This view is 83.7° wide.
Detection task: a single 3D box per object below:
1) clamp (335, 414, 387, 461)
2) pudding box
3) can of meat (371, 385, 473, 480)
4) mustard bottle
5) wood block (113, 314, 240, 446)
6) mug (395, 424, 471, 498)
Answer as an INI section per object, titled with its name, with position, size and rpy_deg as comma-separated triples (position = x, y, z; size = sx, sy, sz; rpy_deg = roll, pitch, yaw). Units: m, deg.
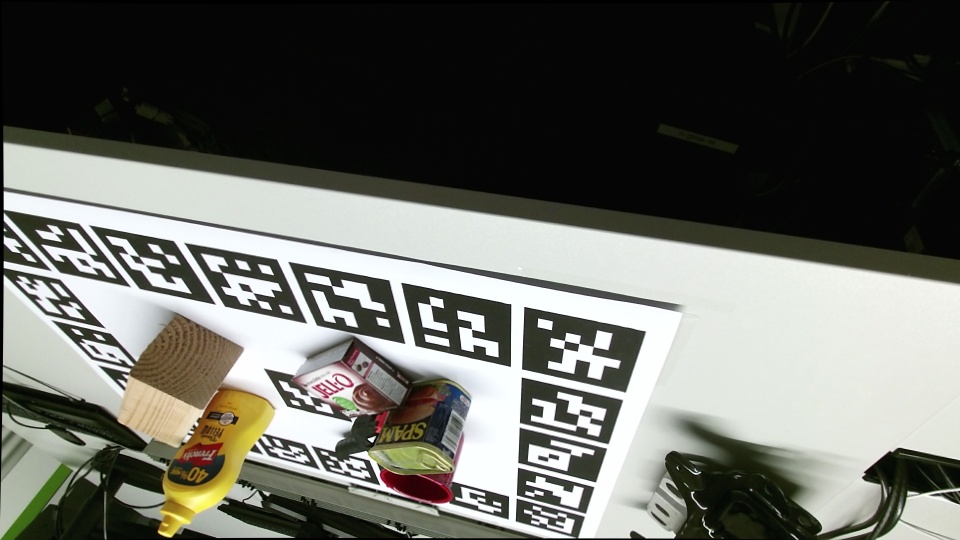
[clamp]
position = -0.141, 0.247, 0.736
size = 0.122, 0.036, 0.165
rpy_deg = 24, 135, -1
[pudding box]
position = -0.152, 0.129, 0.614
size = 0.114, 0.038, 0.090
rpy_deg = -24, 121, 39
[can of meat]
position = -0.064, 0.179, 0.590
size = 0.102, 0.083, 0.058
rpy_deg = -16, 125, 32
[mustard bottle]
position = -0.370, 0.270, 0.724
size = 0.096, 0.191, 0.058
rpy_deg = 5, 134, 15
[wood block]
position = -0.399, 0.152, 0.698
size = 0.090, 0.090, 0.206
rpy_deg = 34, 137, -16
[mug]
position = -0.064, 0.235, 0.688
size = 0.093, 0.081, 0.117
rpy_deg = 25, 135, -4
